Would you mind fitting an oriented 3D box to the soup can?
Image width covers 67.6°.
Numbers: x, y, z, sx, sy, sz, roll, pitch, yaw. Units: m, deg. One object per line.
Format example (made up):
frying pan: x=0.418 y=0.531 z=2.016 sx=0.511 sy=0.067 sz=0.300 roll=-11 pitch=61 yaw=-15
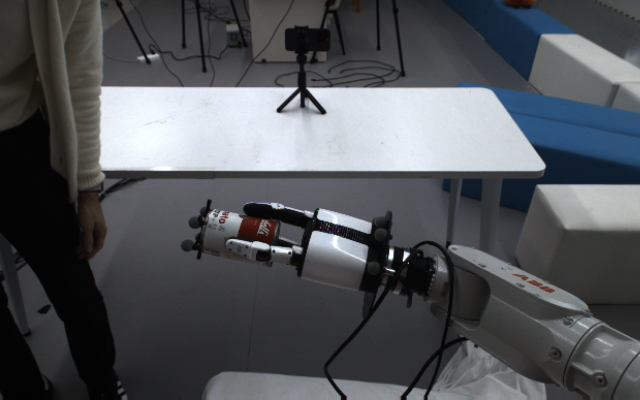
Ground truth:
soup can: x=-0.112 y=0.056 z=0.701 sx=0.101 sy=0.067 sz=0.067 roll=12 pitch=35 yaw=0
